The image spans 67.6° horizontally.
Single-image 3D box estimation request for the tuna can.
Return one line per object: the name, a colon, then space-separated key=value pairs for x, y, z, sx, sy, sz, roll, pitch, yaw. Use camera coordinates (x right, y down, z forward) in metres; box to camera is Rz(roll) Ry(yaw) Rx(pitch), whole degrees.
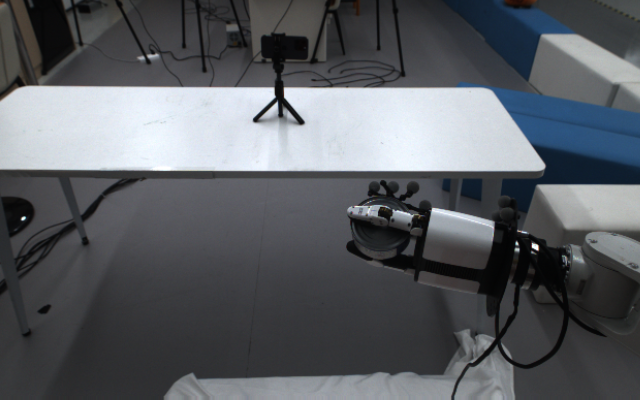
tuna can: x=0.086 y=0.034 z=0.675 sx=0.085 sy=0.034 sz=0.085 roll=-4 pitch=55 yaw=6
